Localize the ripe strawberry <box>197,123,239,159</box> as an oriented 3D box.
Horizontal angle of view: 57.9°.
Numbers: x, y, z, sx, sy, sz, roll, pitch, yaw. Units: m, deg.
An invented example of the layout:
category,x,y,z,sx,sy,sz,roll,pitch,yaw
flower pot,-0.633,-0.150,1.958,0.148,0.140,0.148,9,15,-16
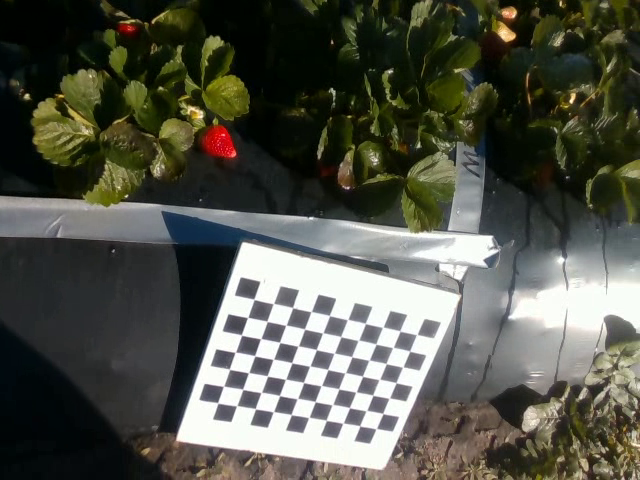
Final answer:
category,x,y,z,sx,sy,sz,roll,pitch,yaw
ripe strawberry,-0.123,-0.119,0.708,0.045,0.058,0.042,-45,3,6
